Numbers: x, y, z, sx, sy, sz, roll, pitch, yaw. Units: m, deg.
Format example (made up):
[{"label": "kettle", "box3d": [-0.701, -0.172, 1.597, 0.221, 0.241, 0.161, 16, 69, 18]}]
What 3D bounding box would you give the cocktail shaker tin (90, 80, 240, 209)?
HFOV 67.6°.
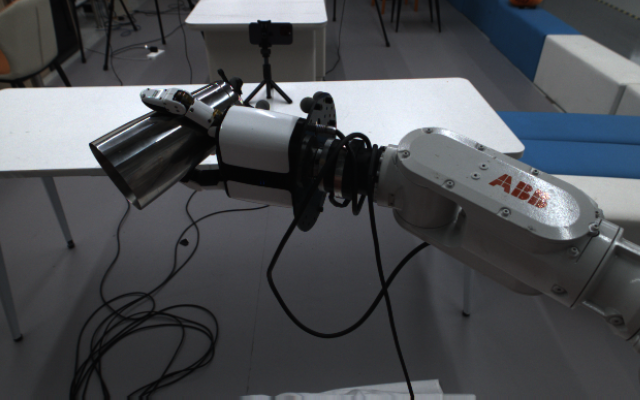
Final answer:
[{"label": "cocktail shaker tin", "box3d": [-0.173, -0.079, 0.581, 0.170, 0.093, 0.093, -38, 49, -23]}]
